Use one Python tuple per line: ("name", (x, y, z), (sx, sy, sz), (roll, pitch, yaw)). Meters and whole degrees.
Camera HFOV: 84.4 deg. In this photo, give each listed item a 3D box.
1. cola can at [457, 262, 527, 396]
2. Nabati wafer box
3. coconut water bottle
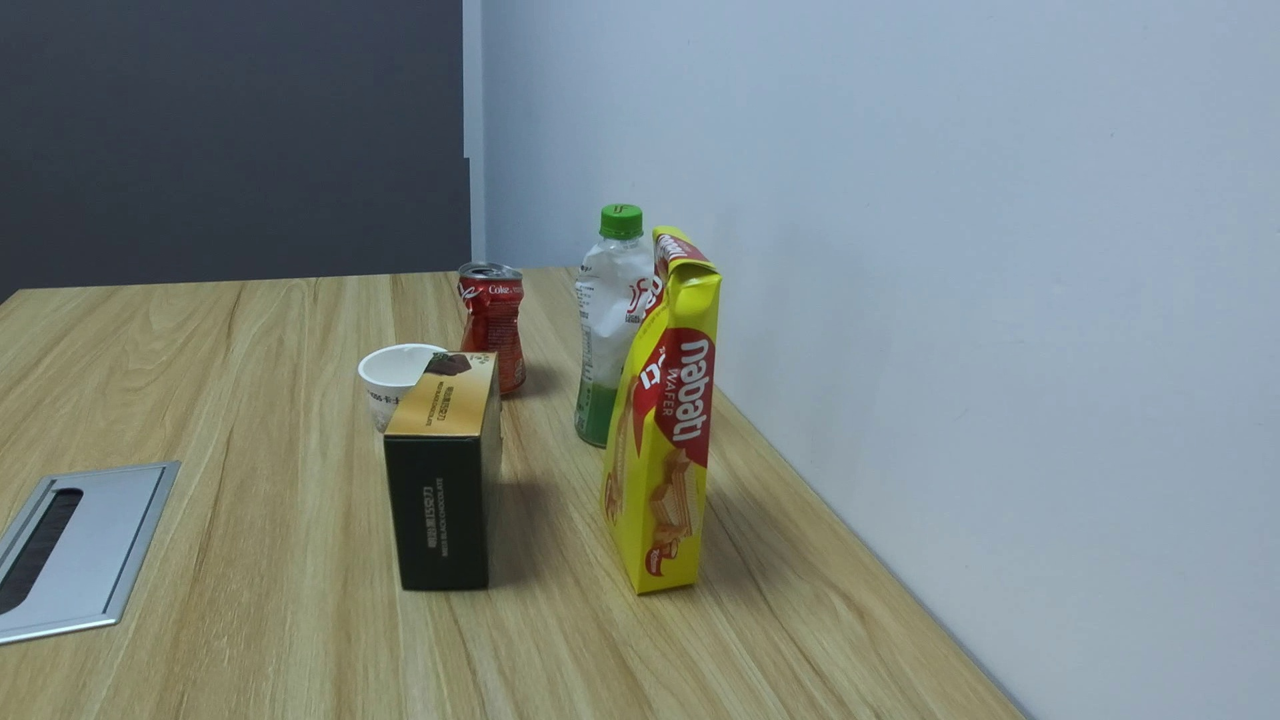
("cola can", (-0.135, -0.028, 0.637), (0.065, 0.112, 0.069), (4, 24, 0))
("Nabati wafer box", (0.012, 0.030, 0.427), (0.043, 0.205, 0.113), (-3, 26, -16))
("coconut water bottle", (-0.017, -0.027, 0.559), (0.069, 0.187, 0.069), (4, 25, -1))
